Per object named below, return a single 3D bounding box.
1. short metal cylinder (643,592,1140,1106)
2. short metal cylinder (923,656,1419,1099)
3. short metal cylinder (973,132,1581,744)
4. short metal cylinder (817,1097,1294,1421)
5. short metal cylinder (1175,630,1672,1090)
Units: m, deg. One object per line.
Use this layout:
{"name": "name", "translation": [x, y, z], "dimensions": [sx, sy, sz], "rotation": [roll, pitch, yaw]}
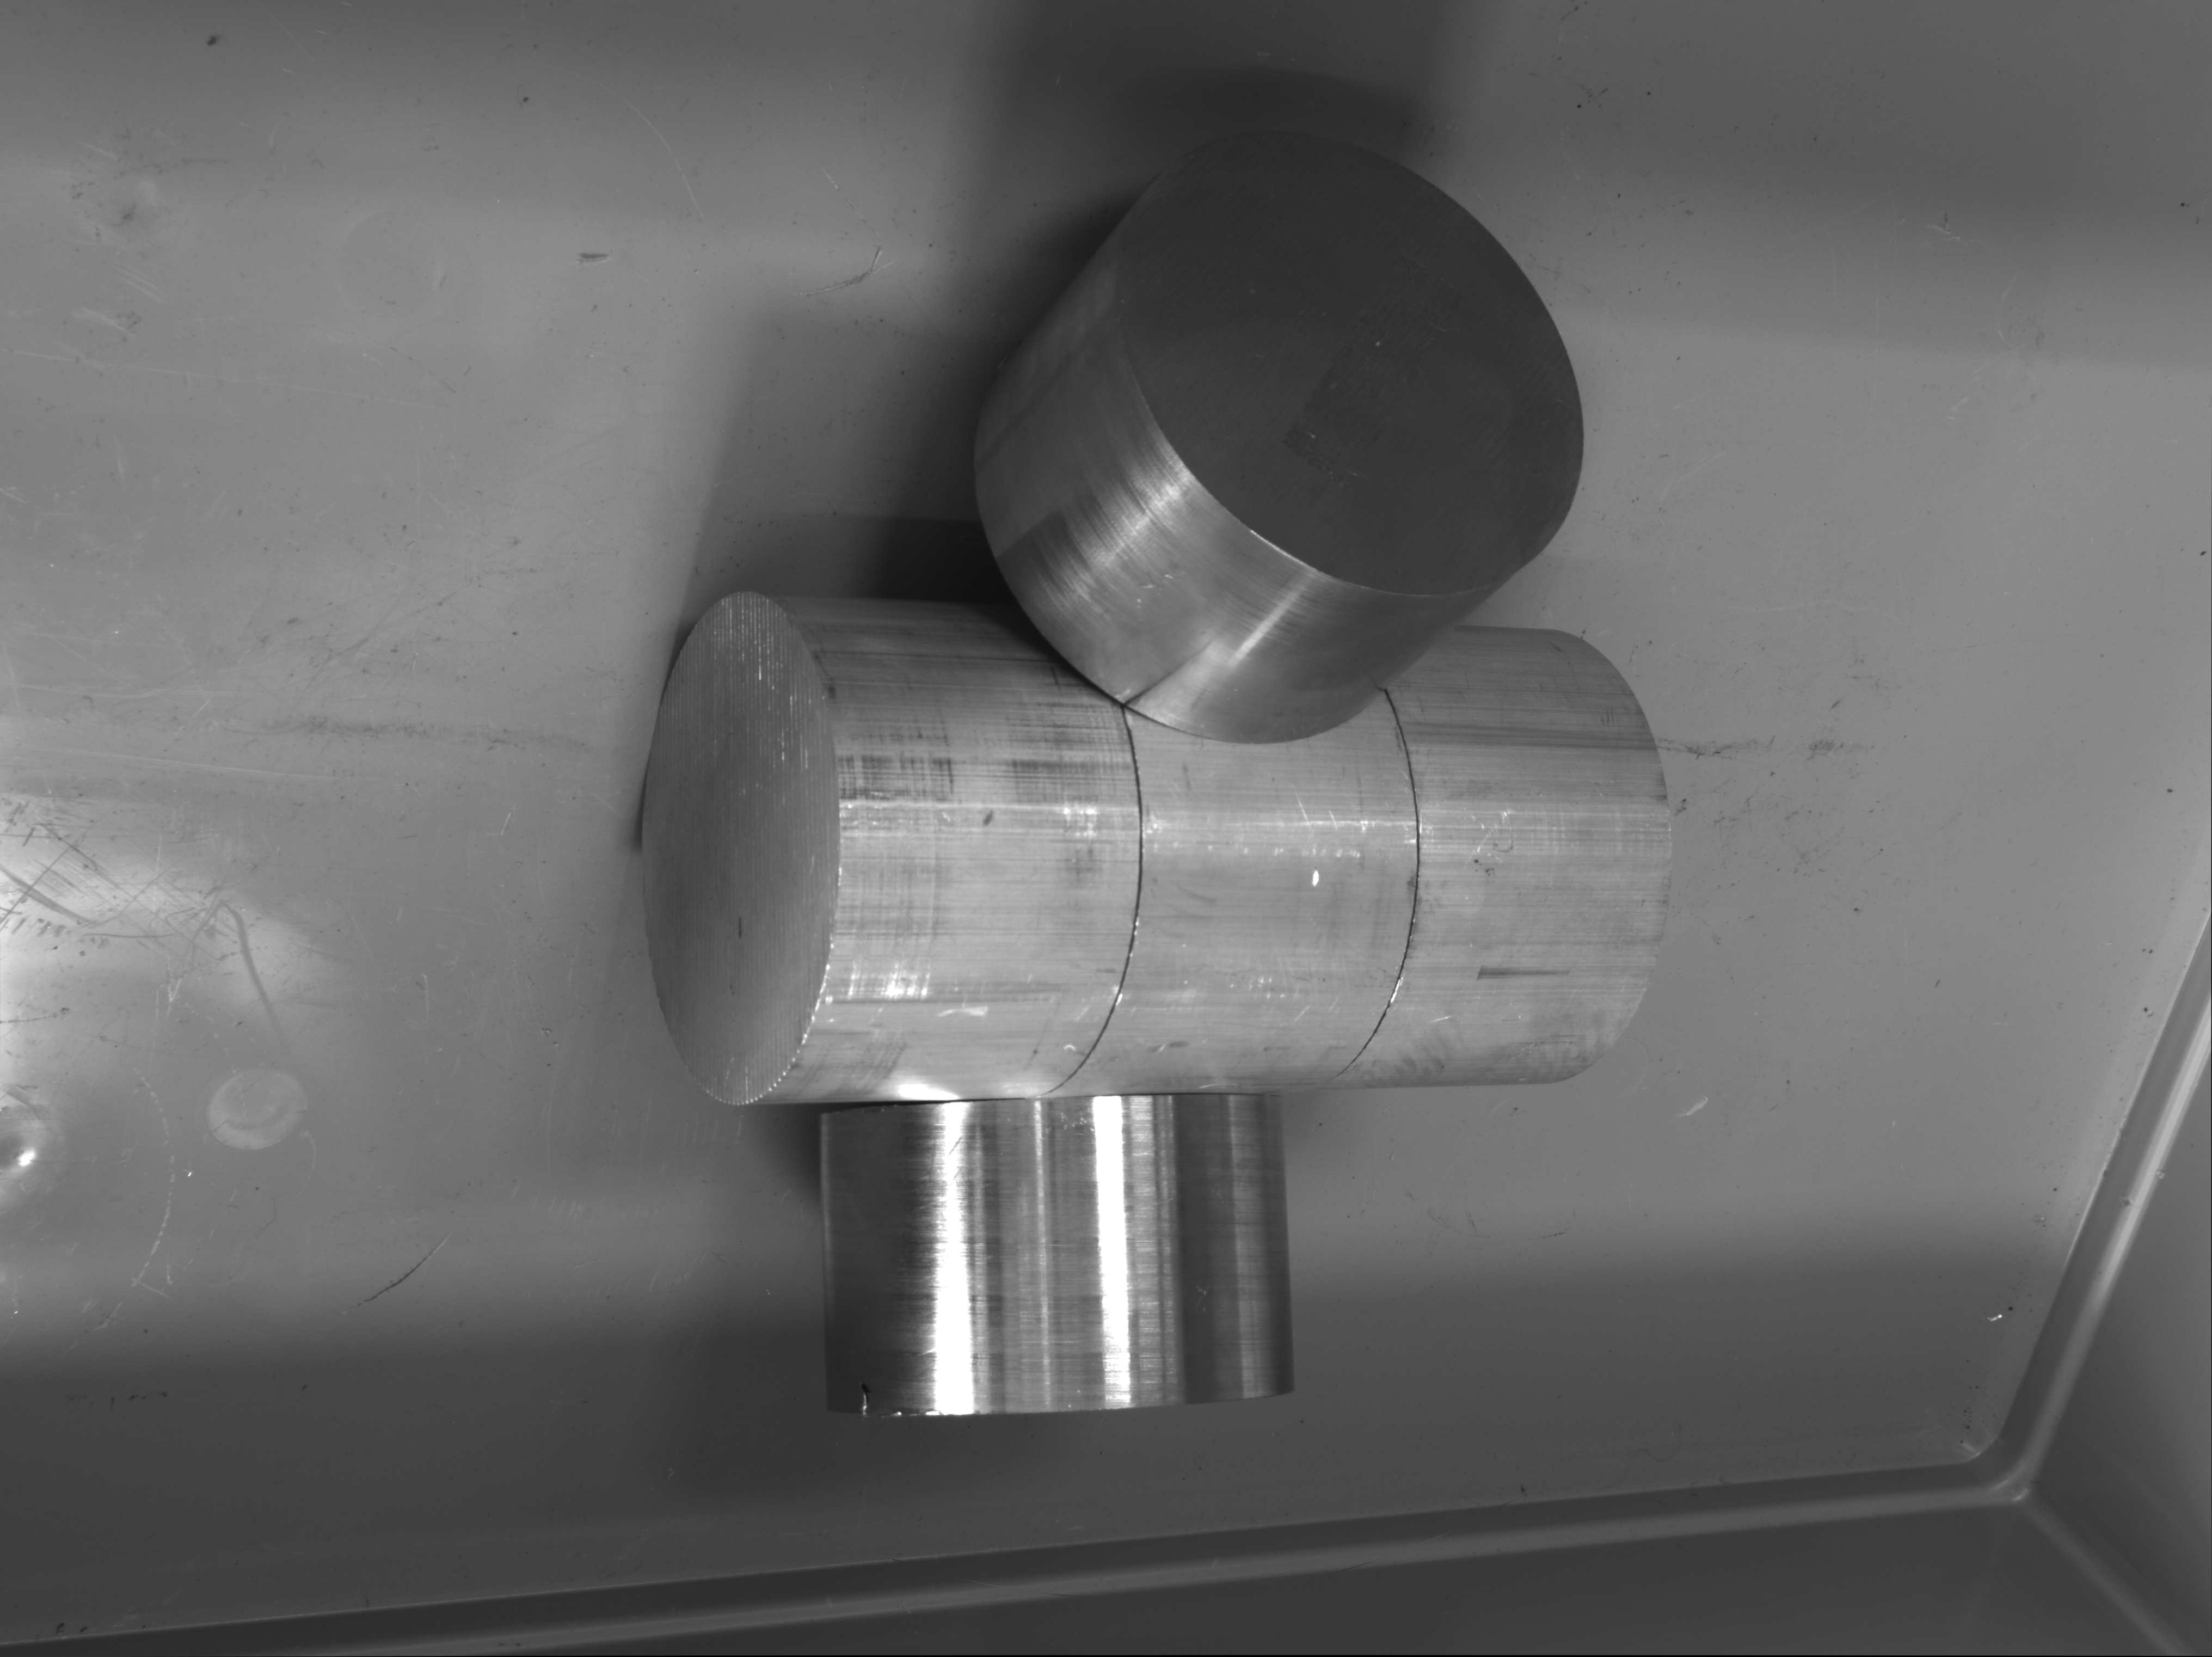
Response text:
{"name": "short metal cylinder", "translation": [-0.036, 0.004, 0.584], "dimensions": [0.050, 0.080, 0.080], "rotation": [1, 117, -28]}
{"name": "short metal cylinder", "translation": [0.009, 0.005, 0.608], "dimensions": [0.050, 0.080, 0.080], "rotation": [1, 117, -28]}
{"name": "short metal cylinder", "translation": [0.026, -0.060, 0.569], "dimensions": [0.080, 0.080, 0.050], "rotation": [2, 155, -29]}
{"name": "short metal cylinder", "translation": [-0.009, 0.073, 0.631], "dimensions": [0.080, 0.080, 0.050], "rotation": [0, 84, -28]}
{"name": "short metal cylinder", "translation": [0.053, 0.005, 0.632], "dimensions": [0.050, 0.080, 0.080], "rotation": [1, 117, -28]}
